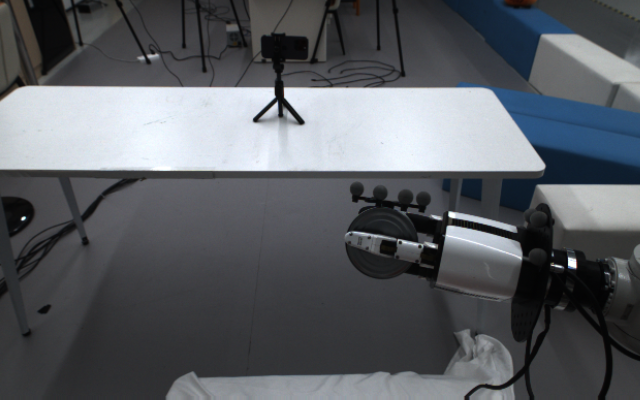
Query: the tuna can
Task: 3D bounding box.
[{"bbox_3d":[0.077,0.046,0.582,0.085,0.085,0.034,11,3,12],"label":"tuna can"}]
